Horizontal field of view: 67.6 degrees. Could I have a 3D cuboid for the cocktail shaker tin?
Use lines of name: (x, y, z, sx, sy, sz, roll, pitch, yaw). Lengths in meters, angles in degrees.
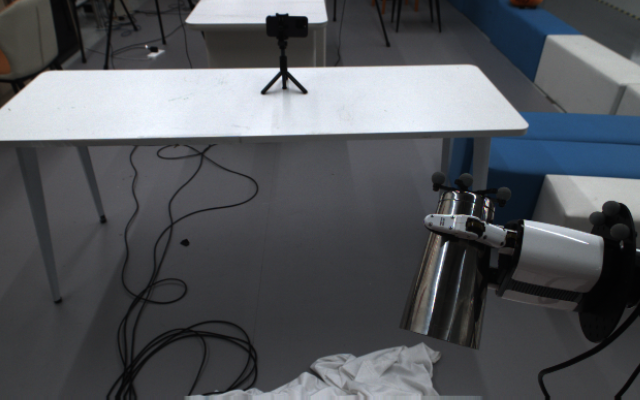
cocktail shaker tin: (0.162, 0.076, 0.573, 0.093, 0.093, 0.170, 12, 76, 15)
